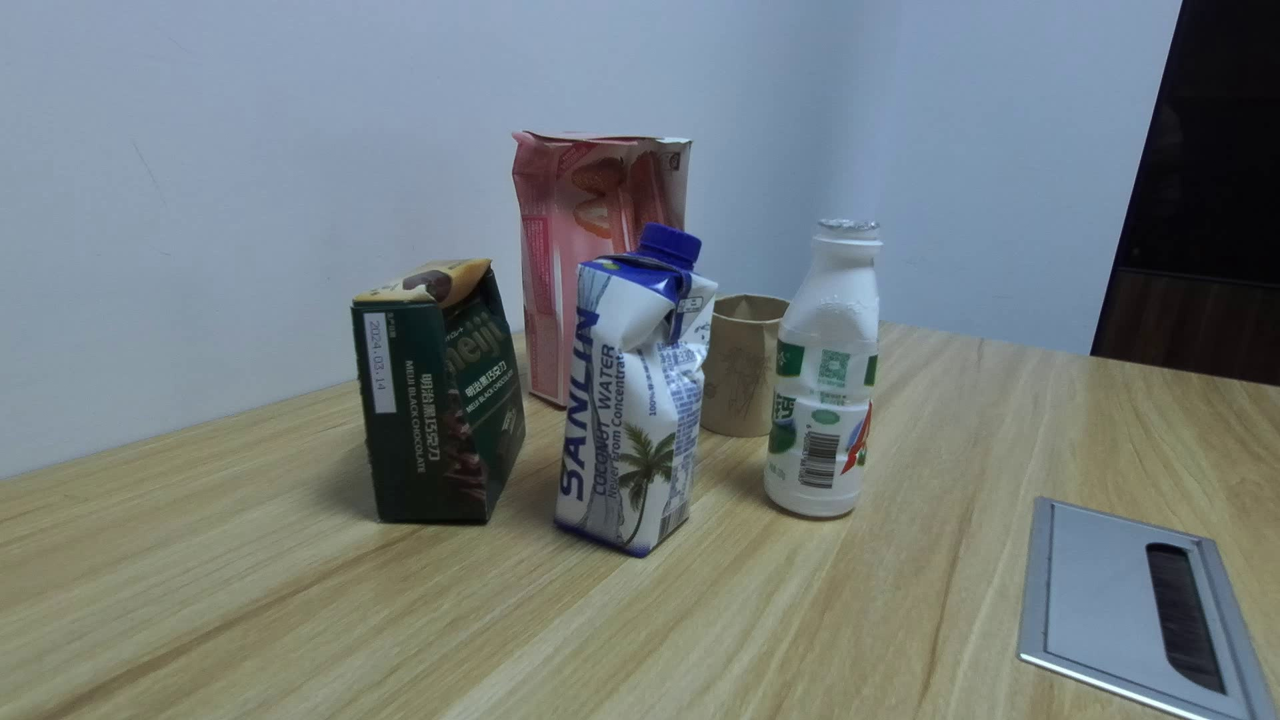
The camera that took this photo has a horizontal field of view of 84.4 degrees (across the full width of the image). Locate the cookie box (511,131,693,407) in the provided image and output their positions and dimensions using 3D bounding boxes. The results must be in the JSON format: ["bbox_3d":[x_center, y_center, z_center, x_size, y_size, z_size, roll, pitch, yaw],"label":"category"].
[{"bbox_3d":[-0.028,-0.062,0.498,0.119,0.184,0.055,-8,19,-31],"label":"cookie box"}]

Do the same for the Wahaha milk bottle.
[{"bbox_3d":[0.095,0.004,0.362,0.055,0.149,0.055,2,17,0],"label":"Wahaha milk bottle"}]

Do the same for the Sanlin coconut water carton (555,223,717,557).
[{"bbox_3d":[0.000,0.012,0.331,0.060,0.143,0.070,13,17,30],"label":"Sanlin coconut water carton"}]
